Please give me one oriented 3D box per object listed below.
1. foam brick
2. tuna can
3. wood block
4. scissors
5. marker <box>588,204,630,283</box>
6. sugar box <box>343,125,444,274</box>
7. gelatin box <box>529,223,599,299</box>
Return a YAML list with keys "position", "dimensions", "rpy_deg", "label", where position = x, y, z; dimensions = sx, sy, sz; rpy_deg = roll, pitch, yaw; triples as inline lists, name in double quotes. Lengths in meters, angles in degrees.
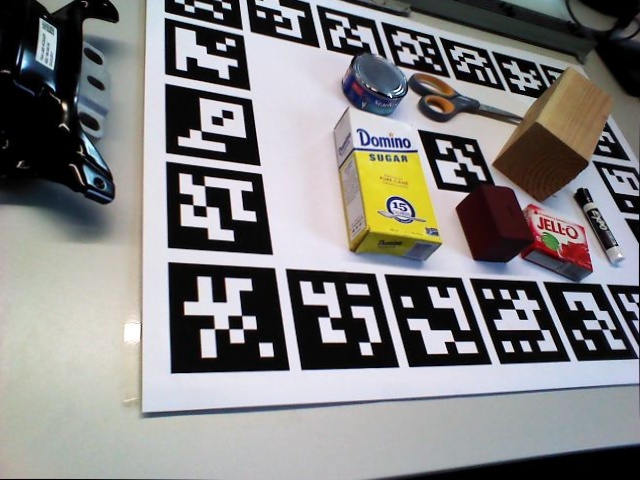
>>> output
- position: [0.221, 0.003, 0.623]
  dimensions: [0.052, 0.052, 0.077]
  rpy_deg: [6, 59, -21]
  label: "foam brick"
- position: [0.084, -0.192, 0.694]
  dimensions: [0.085, 0.034, 0.085]
  rpy_deg: [11, 57, -18]
  label: "tuna can"
- position: [0.367, -0.132, 0.759]
  dimensions: [0.090, 0.091, 0.205]
  rpy_deg: [41, 51, 4]
  label: "wood block"
- position: [0.238, -0.179, 0.772]
  dimensions: [0.202, 0.016, 0.087]
  rpy_deg: [11, 57, -16]
  label: "scissors"
- position: [0.407, 0.002, 0.732]
  dimensions: [0.019, 0.020, 0.120]
  rpy_deg: [6, 60, -22]
  label: "marker"
- position: [0.082, -0.049, 0.601]
  dimensions: [0.093, 0.045, 0.175]
  rpy_deg: [9, 57, -20]
  label: "sugar box"
- position: [0.313, 0.026, 0.669]
  dimensions: [0.089, 0.030, 0.073]
  rpy_deg: [21, 54, -11]
  label: "gelatin box"
